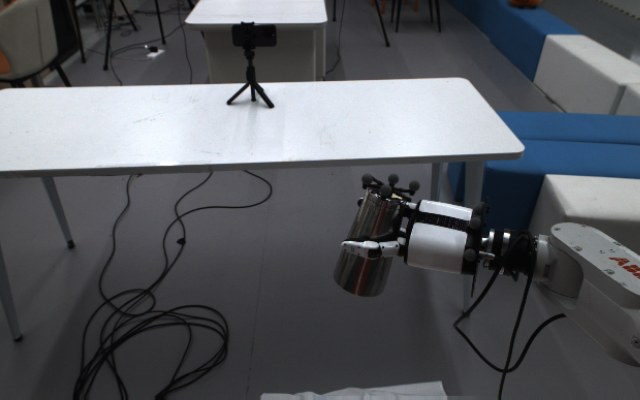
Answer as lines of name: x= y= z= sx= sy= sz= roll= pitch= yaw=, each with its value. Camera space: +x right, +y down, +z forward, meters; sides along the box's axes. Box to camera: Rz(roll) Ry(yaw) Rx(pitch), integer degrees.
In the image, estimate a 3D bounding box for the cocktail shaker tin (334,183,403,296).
cocktail shaker tin: x=0.088 y=0.060 z=0.800 sx=0.093 sy=0.170 sz=0.093 roll=12 pitch=24 yaw=-5
